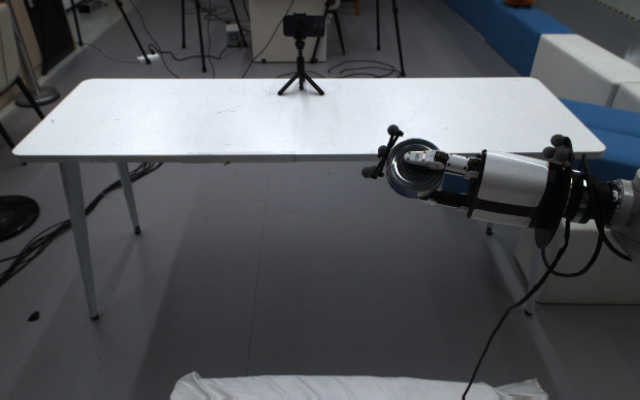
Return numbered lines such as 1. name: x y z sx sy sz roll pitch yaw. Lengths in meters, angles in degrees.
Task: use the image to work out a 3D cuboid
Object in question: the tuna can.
1. tuna can: 0.143 -0.049 0.720 0.085 0.034 0.085 -2 71 5
